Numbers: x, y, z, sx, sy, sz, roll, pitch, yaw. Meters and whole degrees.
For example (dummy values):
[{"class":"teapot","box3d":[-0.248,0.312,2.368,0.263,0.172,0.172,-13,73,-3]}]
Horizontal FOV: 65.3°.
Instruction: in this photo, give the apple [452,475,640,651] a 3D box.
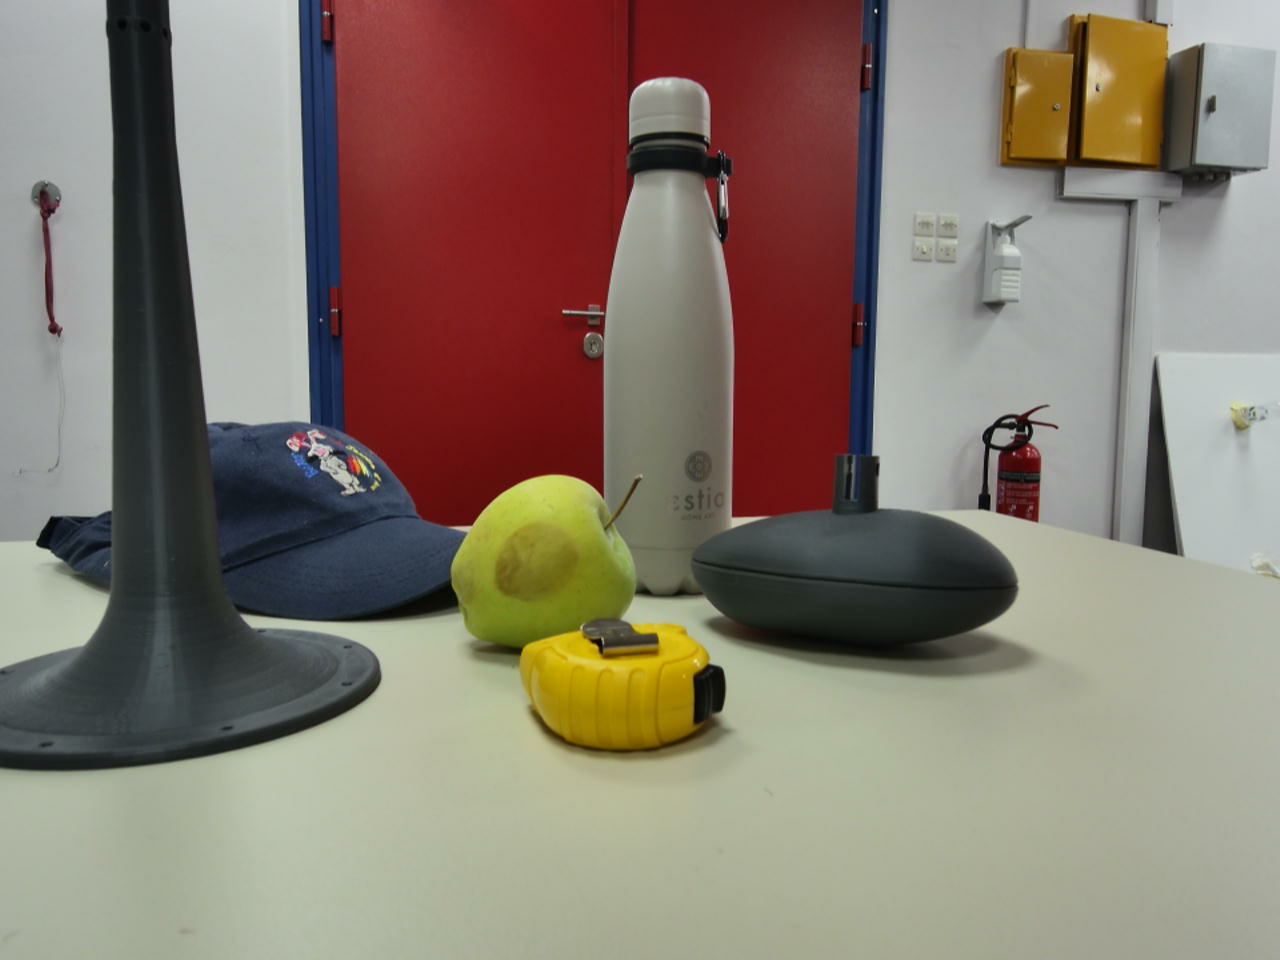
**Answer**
[{"class":"apple","box3d":[-0.040,0.036,0.437,0.077,0.075,0.072,3,5,30]}]
